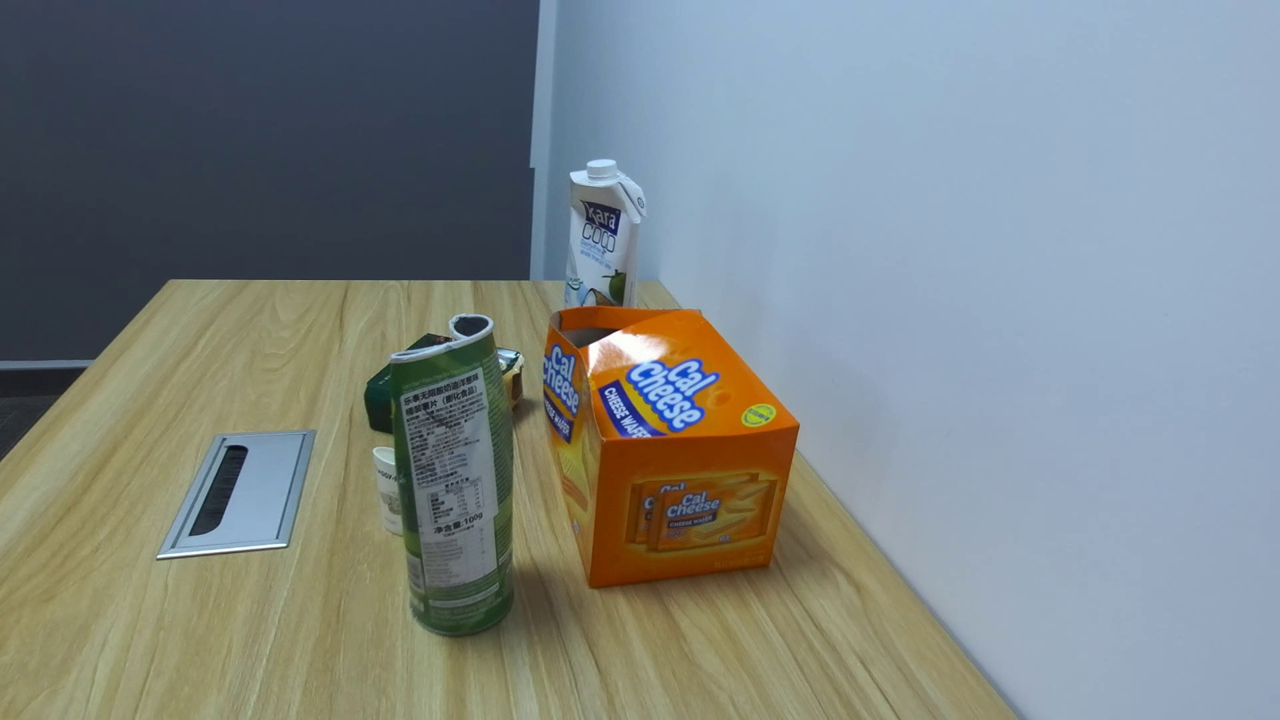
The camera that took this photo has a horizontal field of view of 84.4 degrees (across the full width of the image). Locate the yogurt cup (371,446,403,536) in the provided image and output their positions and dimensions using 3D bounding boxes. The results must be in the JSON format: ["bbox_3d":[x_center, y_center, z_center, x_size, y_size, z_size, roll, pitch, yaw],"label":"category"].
[{"bbox_3d":[-0.171,0.100,0.554,0.067,0.070,0.067,-8,9,2],"label":"yogurt cup"}]

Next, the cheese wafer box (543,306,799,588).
[{"bbox_3d":[0.009,0.056,0.585,0.152,0.132,0.229,-3,28,-15],"label":"cheese wafer box"}]

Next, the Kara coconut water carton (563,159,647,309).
[{"bbox_3d":[-0.039,-0.091,0.746,0.114,0.238,0.069,26,34,36],"label":"Kara coconut water carton"}]

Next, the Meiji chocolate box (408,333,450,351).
[{"bbox_3d":[-0.185,0.030,0.684,0.122,0.058,0.116,11,27,11],"label":"Meiji chocolate box"}]

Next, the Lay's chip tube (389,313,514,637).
[{"bbox_3d":[-0.110,0.073,0.436,0.069,0.201,0.077,-1,24,-13],"label":"Lay's chip tube"}]
